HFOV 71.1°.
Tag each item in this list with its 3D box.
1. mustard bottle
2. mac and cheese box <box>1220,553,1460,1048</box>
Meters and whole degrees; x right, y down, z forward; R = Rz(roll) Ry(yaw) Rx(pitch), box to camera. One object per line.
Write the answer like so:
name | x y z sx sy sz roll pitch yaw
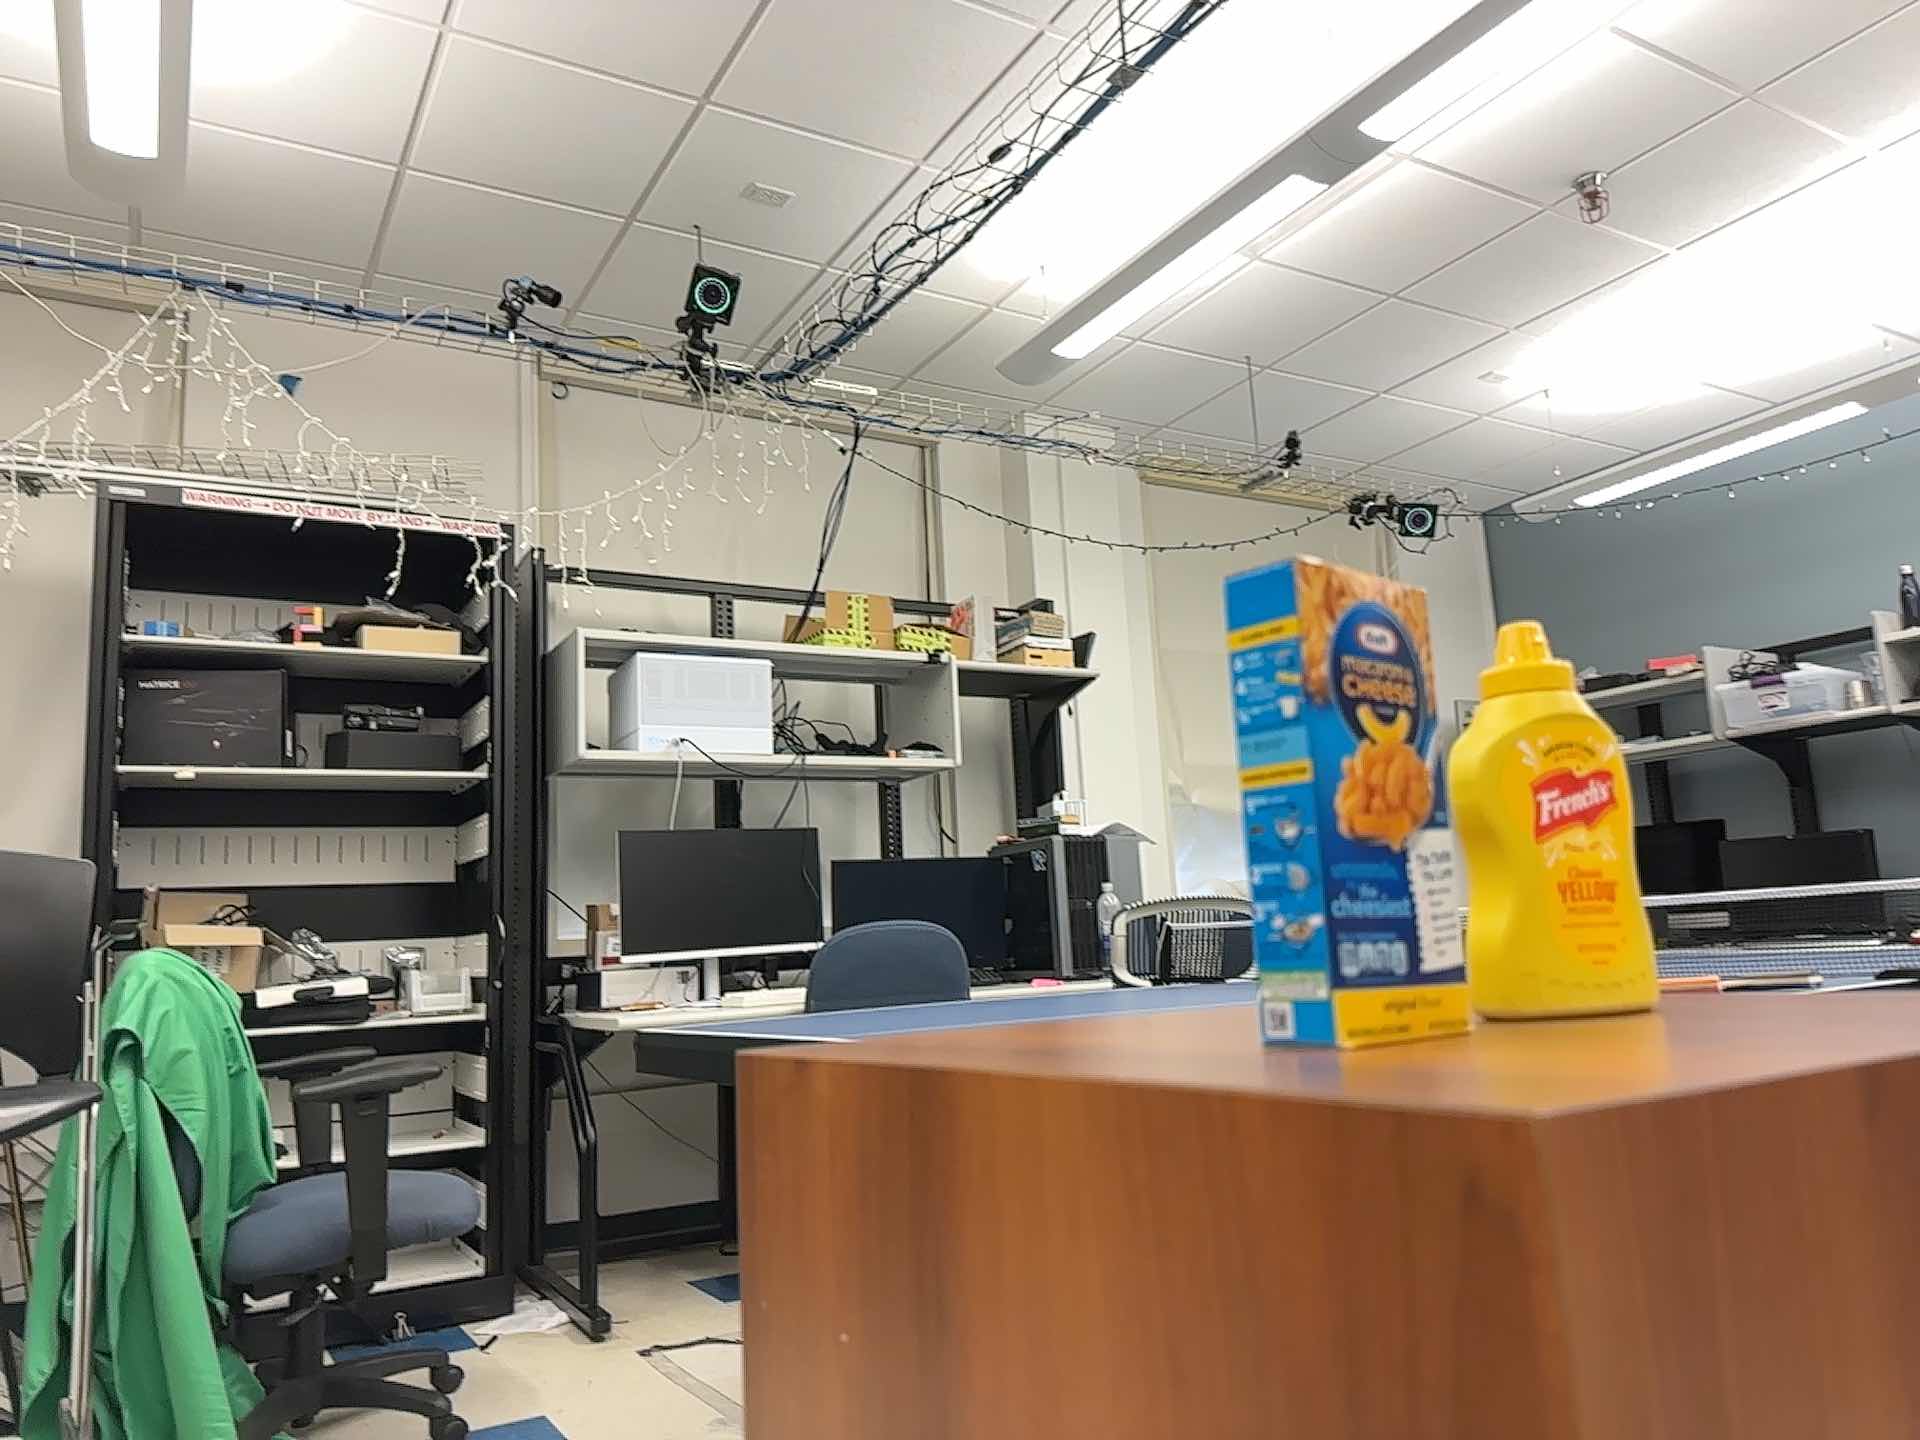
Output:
mustard bottle | 0.265 0.042 0.618 0.092 0.184 0.054 0 -8 -13
mac and cheese box | 0.151 0.032 0.533 0.088 0.181 0.035 5 -11 -36
